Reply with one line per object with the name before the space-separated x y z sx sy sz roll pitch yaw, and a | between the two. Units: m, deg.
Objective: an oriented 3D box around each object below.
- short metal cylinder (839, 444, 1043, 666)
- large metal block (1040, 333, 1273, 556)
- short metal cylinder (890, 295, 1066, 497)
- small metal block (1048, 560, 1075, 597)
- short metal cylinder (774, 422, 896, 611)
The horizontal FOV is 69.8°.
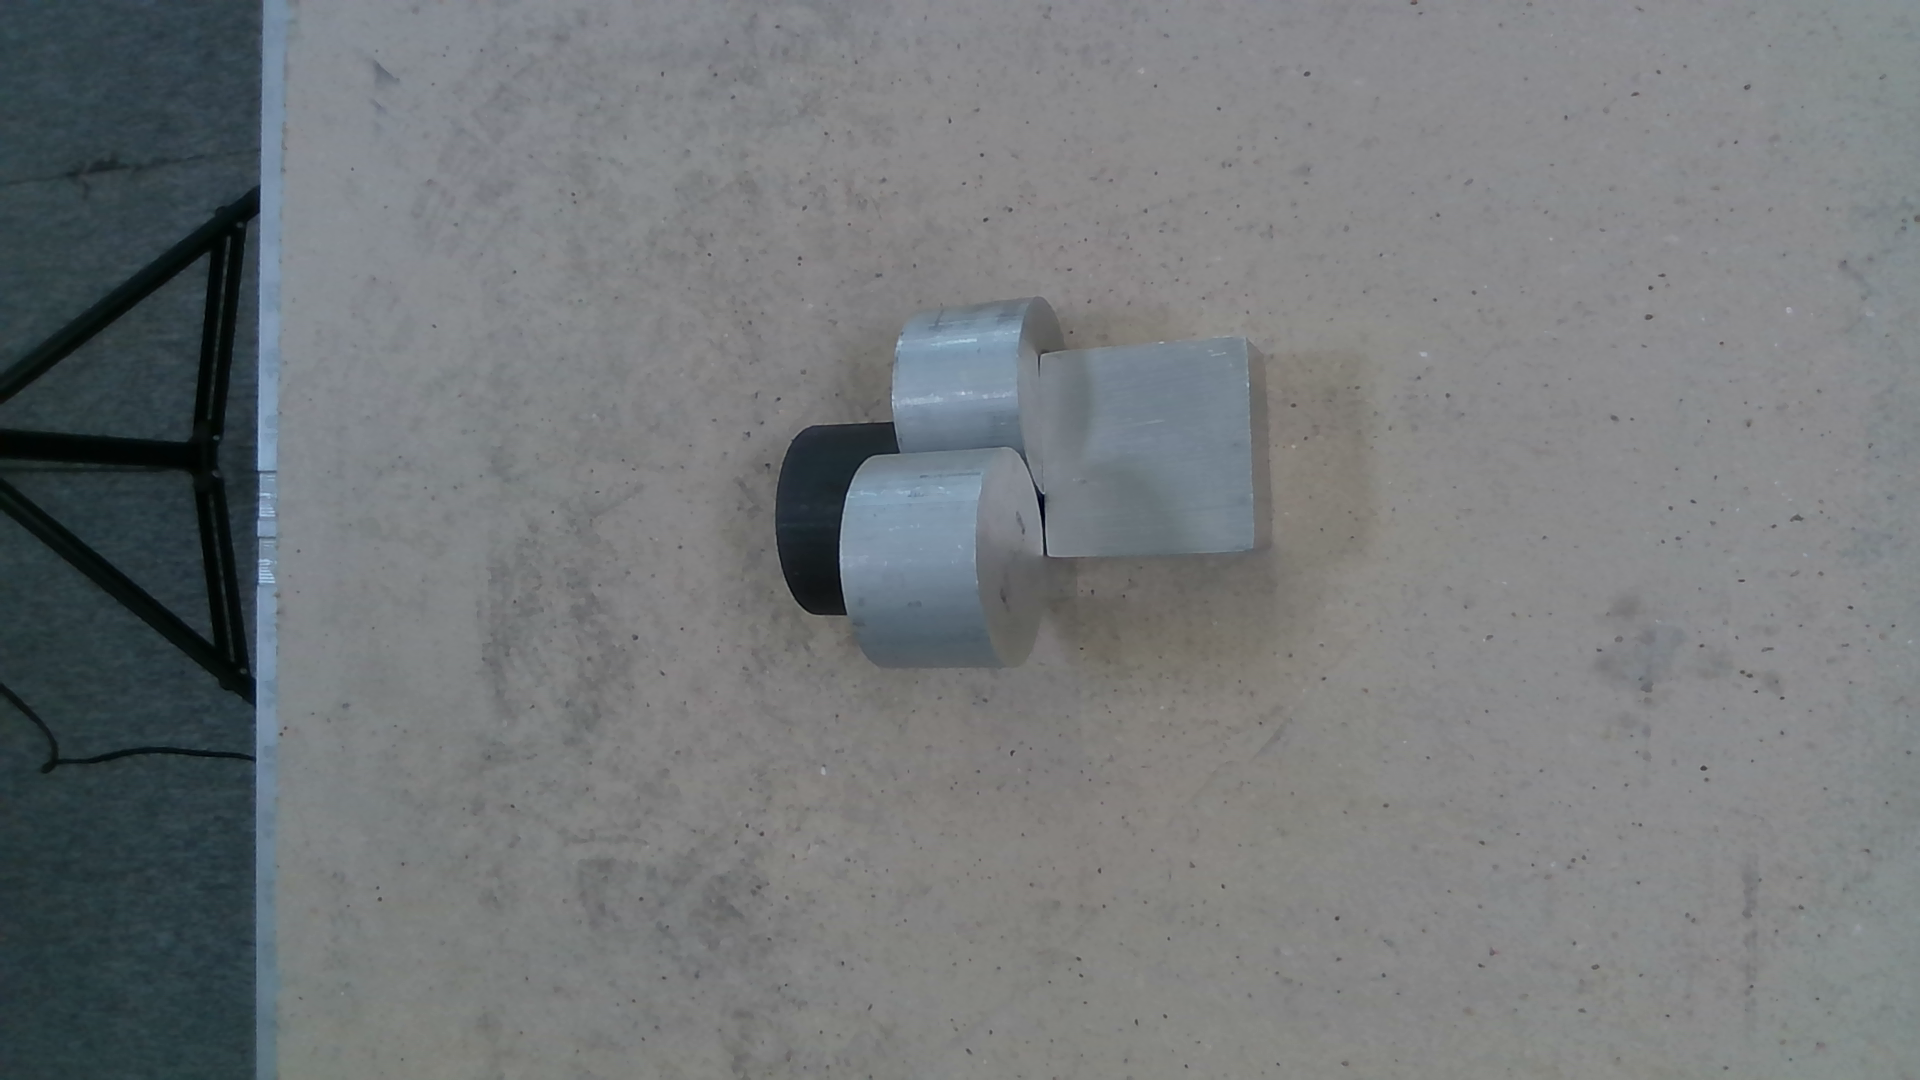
short metal cylinder | -0.005 0.006 0.506 0.050 0.080 0.080 -2 90 20
large metal block | 0.078 -0.035 0.544 0.080 0.050 0.080 -2 90 20
short metal cylinder | 0.011 -0.055 0.553 0.050 0.080 0.080 -2 90 20
small metal block | 0.017 0.010 0.569 0.050 0.050 0.025 1 91 20
short metal cylinder | -0.036 -0.009 0.571 0.050 0.080 0.080 0 90 20
